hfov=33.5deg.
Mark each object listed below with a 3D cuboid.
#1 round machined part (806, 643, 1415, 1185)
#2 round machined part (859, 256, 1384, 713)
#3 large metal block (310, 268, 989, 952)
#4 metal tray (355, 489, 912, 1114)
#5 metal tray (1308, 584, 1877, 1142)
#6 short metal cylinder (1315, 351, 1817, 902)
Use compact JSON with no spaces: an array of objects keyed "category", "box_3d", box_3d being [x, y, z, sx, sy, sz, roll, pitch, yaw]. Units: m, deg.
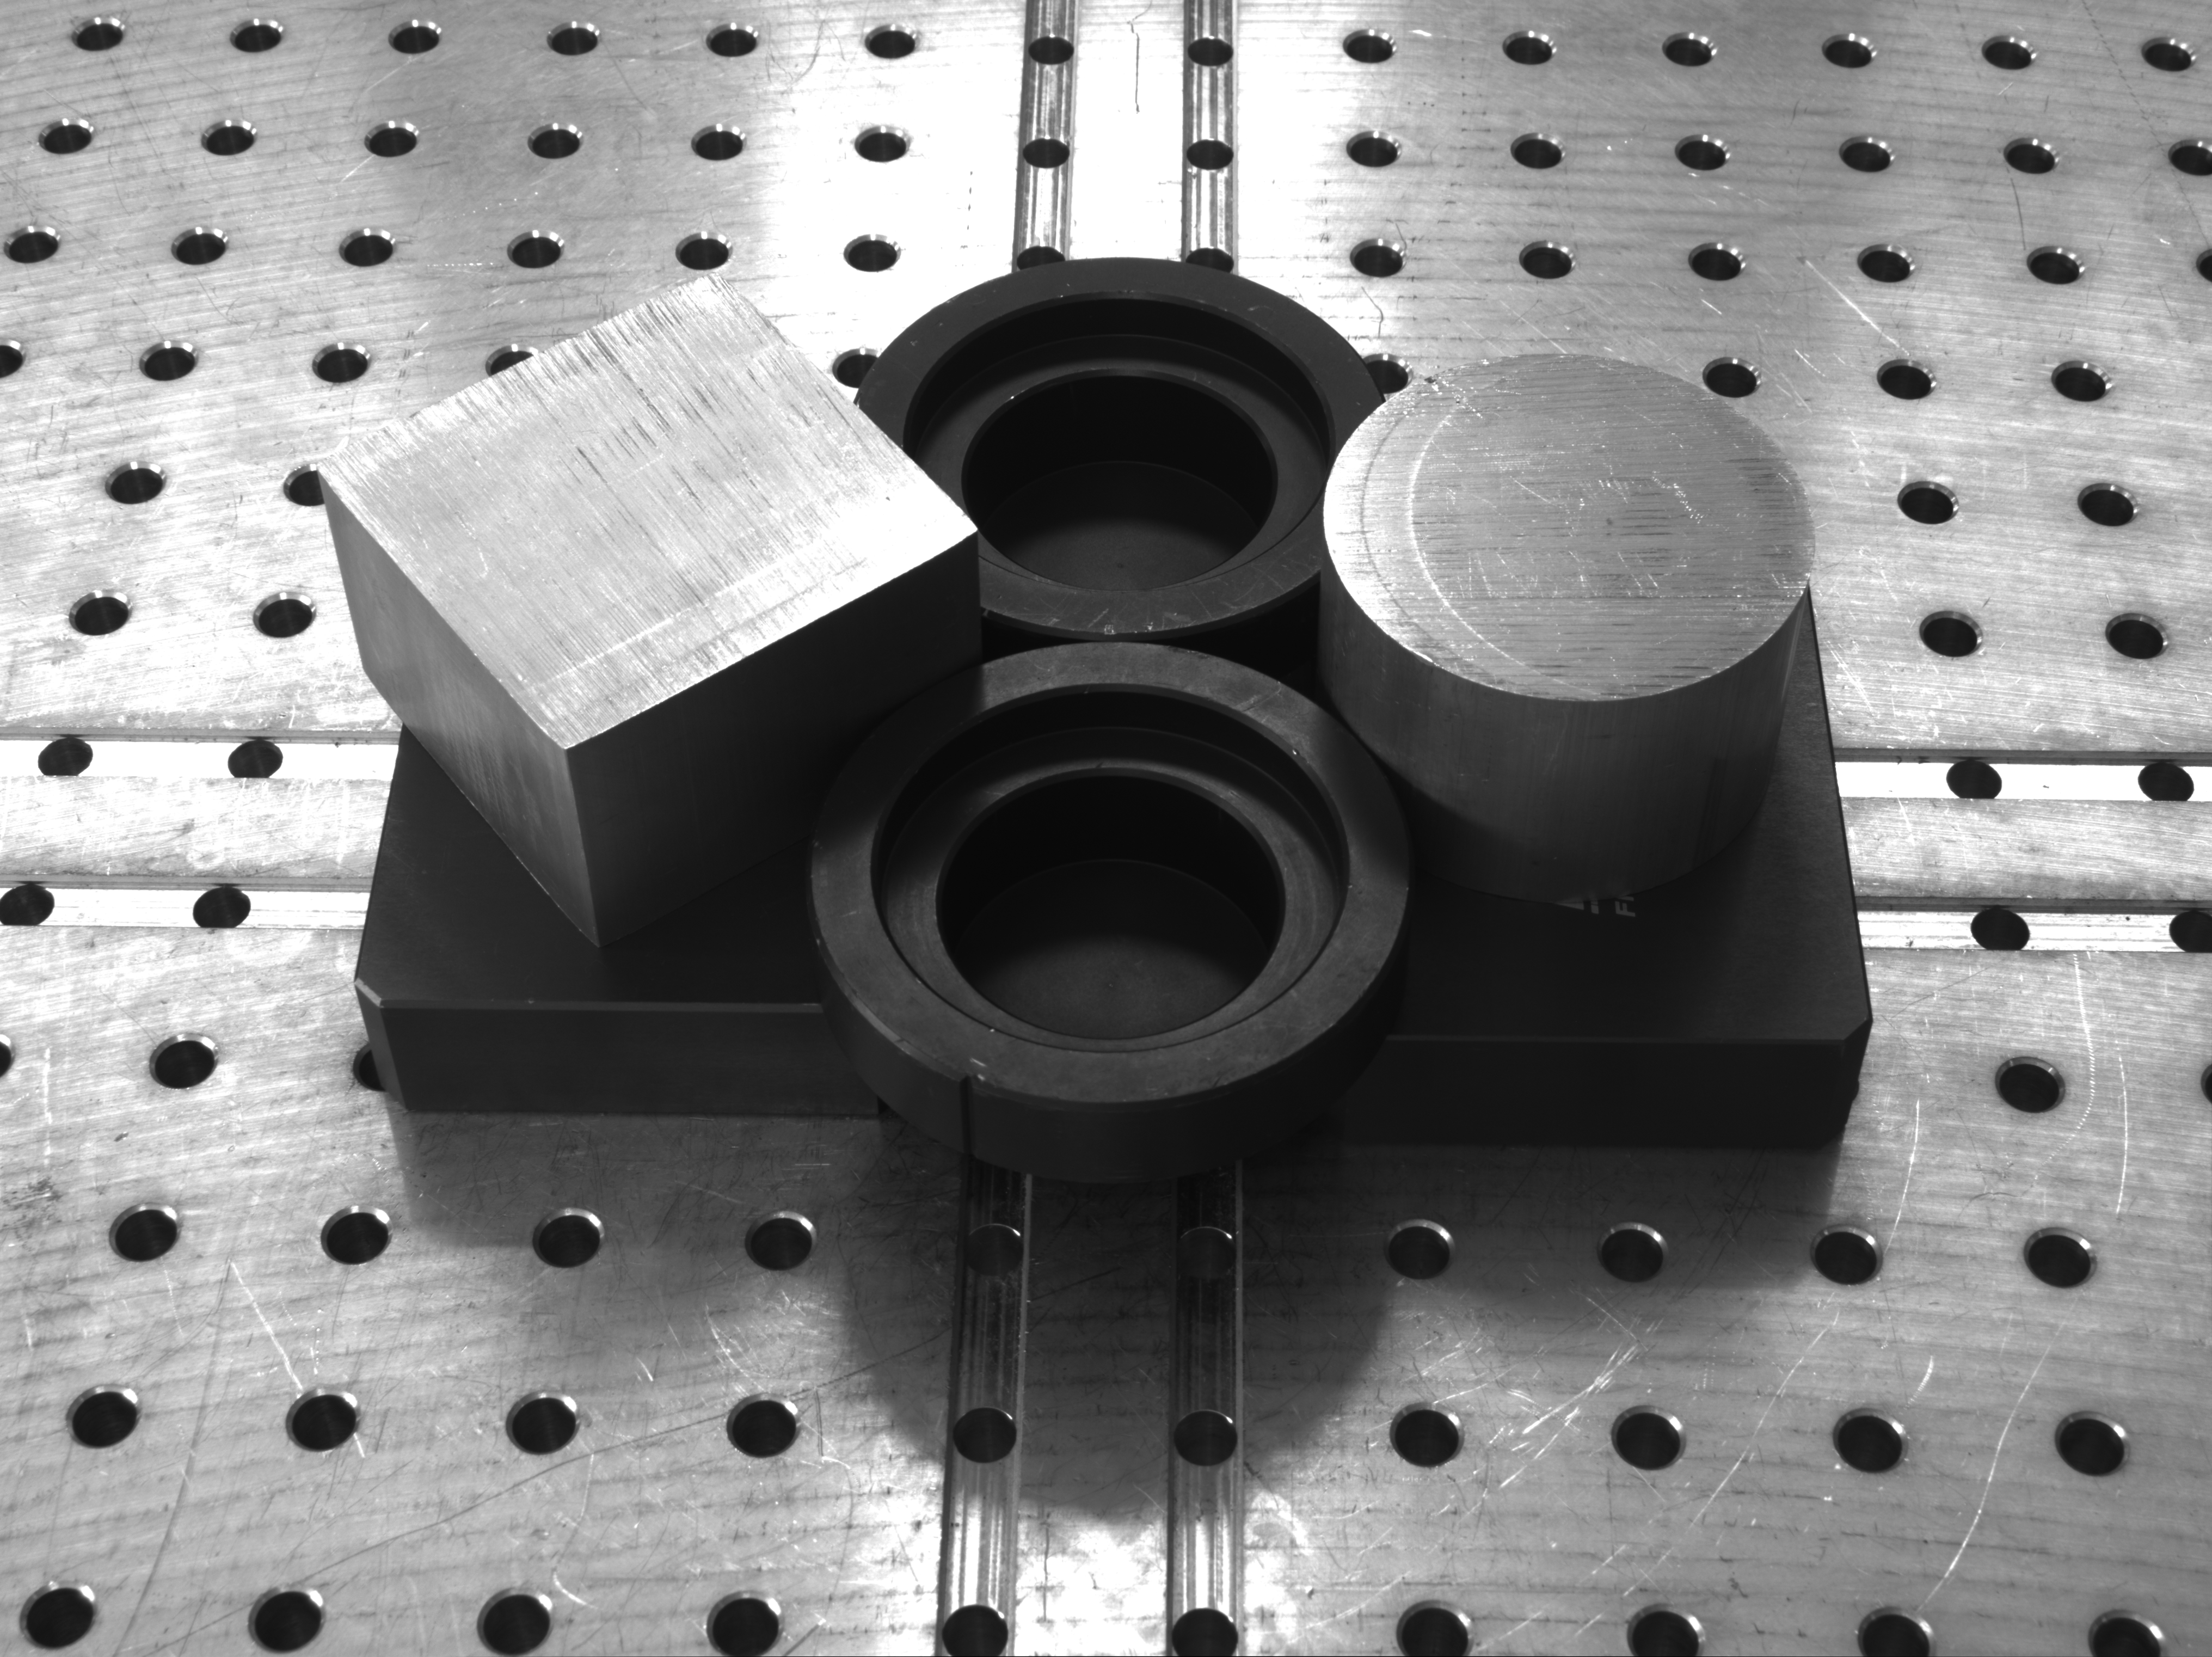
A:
[{"category":"round machined part","box_3d":[0.001,0.019,0.607,0.098,0.042,0.098,0,50,0]},{"category":"round machined part","box_3d":[0.003,-0.057,0.670,0.098,0.042,0.098,0,50,0]},{"category":"large metal block","box_3d":[-0.076,-0.039,0.623,0.080,0.050,0.080,-30,56,-22]},{"category":"metal tray","box_3d":[-0.077,-0.011,0.652,0.090,0.030,0.130,1,50,0]},{"category":"metal tray","box_3d":[0.081,-0.007,0.645,0.090,0.030,0.130,1,50,1]},{"category":"short metal cylinder","box_3d":[0.076,-0.034,0.618,0.080,0.050,0.080,0,50,0]}]
